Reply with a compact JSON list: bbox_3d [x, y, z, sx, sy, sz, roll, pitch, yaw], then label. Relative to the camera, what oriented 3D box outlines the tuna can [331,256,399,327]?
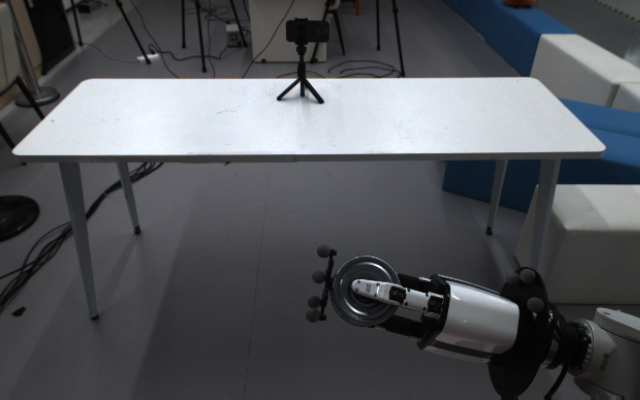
[{"bbox_3d":[0.059,0.115,0.594,0.085,0.034,0.085,2,73,-5],"label":"tuna can"}]
